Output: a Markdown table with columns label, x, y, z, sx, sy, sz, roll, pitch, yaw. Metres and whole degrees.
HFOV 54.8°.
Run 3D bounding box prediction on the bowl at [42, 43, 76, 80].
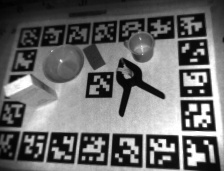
| label | x | y | z | sx | sy | sz | roll | pitch | yaw |
| --- | --- | --- | --- | --- | --- | --- | --- | --- | --- |
| bowl | -0.201 | -0.091 | 0.833 | 0.161 | 0.055 | 0.161 | -3 | 72 | 10 |

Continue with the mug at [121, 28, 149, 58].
| label | x | y | z | sx | sy | sz | roll | pitch | yaw |
| --- | --- | --- | --- | --- | --- | --- | --- | --- | --- |
| mug | 0.077 | -0.153 | 0.777 | 0.116 | 0.082 | 0.093 | 25 | 79 | 15 |

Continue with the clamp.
| label | x | y | z | sx | sy | sz | roll | pitch | yaw |
| --- | --- | --- | --- | --- | --- | --- | --- | --- | --- |
| clamp | 0.044 | -0.025 | 0.764 | 0.165 | 0.037 | 0.201 | -24 | 70 | 6 |

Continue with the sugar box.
| label | x | y | z | sx | sy | sz | roll | pitch | yaw |
| --- | --- | --- | --- | --- | --- | --- | --- | --- | --- |
| sugar box | -0.292 | 0.020 | 0.752 | 0.093 | 0.178 | 0.045 | -26 | 70 | 3 |

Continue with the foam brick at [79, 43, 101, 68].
| label | x | y | z | sx | sy | sz | roll | pitch | yaw |
| --- | --- | --- | --- | --- | --- | --- | --- | --- | --- |
| foam brick | -0.084 | -0.117 | 0.825 | 0.052 | 0.052 | 0.077 | -28 | 70 | 4 |
